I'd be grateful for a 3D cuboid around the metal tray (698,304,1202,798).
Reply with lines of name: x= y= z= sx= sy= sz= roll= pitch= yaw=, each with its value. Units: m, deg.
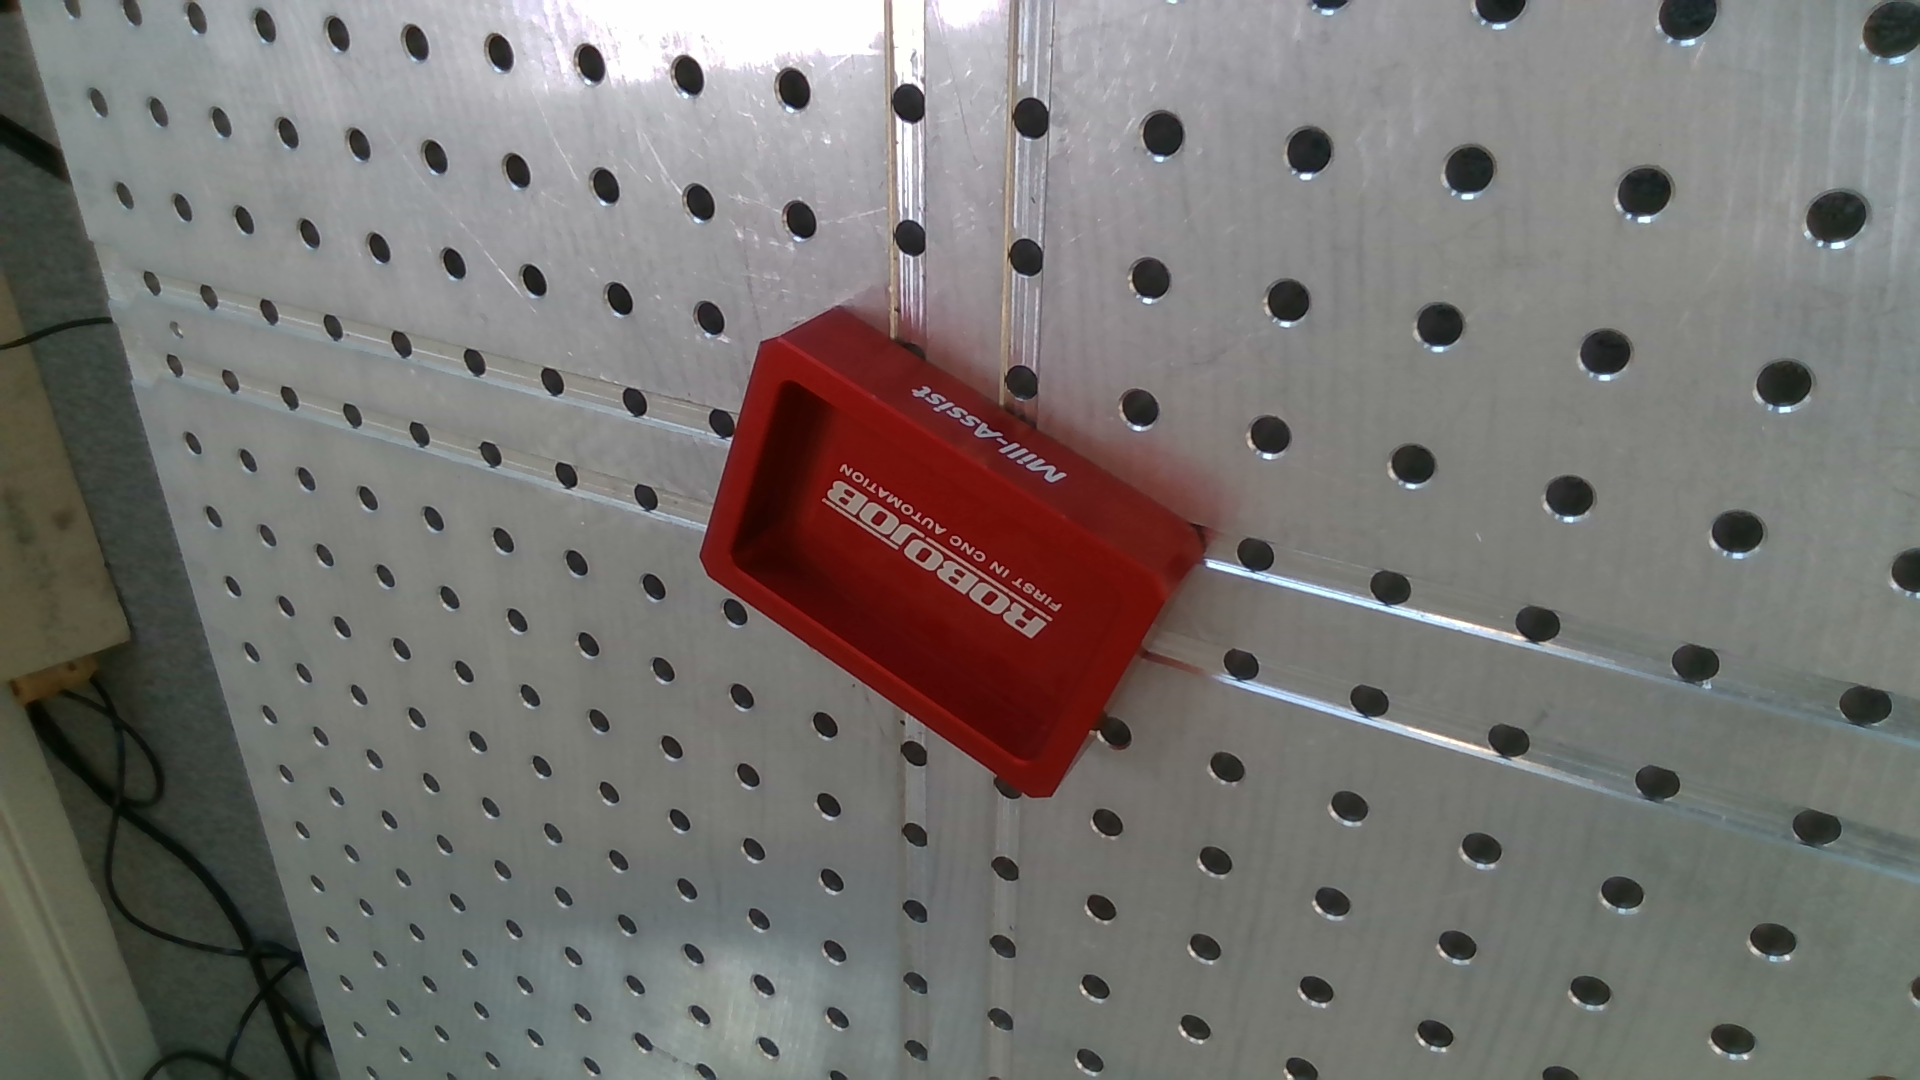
metal tray: x=-0.008 y=0.004 z=0.395 sx=0.130 sy=0.030 sz=0.090 roll=33 pitch=128 yaw=13
